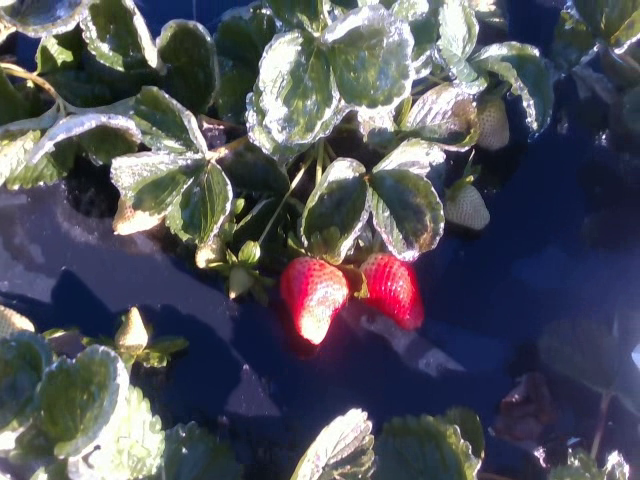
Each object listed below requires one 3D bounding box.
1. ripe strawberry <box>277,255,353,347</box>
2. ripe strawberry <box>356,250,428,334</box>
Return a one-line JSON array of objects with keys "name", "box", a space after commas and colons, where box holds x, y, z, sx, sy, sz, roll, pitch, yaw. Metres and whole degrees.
[{"name": "ripe strawberry", "box": [0.000, 0.044, 0.401, 0.052, 0.070, 0.040, 12, -13, -19]}, {"name": "ripe strawberry", "box": [0.053, 0.034, 0.405, 0.043, 0.059, 0.040, -37, 0, -12]}]
